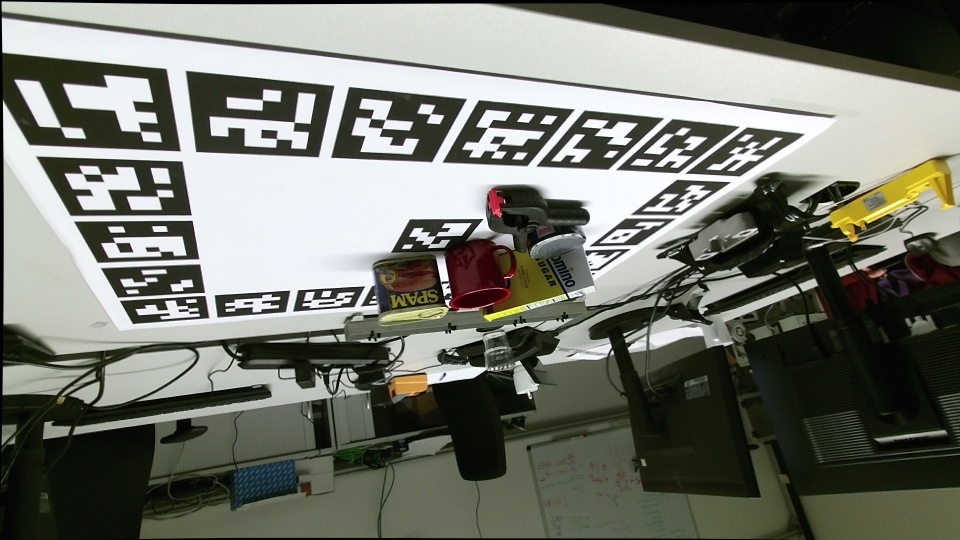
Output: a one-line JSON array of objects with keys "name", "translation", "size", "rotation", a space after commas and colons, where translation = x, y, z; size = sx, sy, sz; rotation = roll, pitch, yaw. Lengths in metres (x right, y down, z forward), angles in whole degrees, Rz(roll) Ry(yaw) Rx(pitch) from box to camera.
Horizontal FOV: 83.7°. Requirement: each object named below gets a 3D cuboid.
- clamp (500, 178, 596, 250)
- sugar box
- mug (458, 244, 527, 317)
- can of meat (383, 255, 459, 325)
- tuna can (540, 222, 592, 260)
[{"name": "clamp", "translation": [0.078, -0.074, 0.694], "size": [0.122, 0.036, 0.166], "rotation": [-21, 153, 28]}, {"name": "sugar box", "translation": [0.101, 0.009, 0.833], "size": [0.177, 0.092, 0.045], "rotation": [-17, 160, 11]}, {"name": "mug", "translation": [0.023, 0.010, 0.780], "size": [0.117, 0.081, 0.093], "rotation": [-32, 151, 34]}, {"name": "can of meat", "translation": [-0.088, 0.029, 0.783], "size": [0.102, 0.083, 0.058], "rotation": [-5, 158, -16]}, {"name": "tuna can", "translation": [0.130, -0.049, 0.770], "size": [0.086, 0.033, 0.086], "rotation": [-12, 156, -5]}]
